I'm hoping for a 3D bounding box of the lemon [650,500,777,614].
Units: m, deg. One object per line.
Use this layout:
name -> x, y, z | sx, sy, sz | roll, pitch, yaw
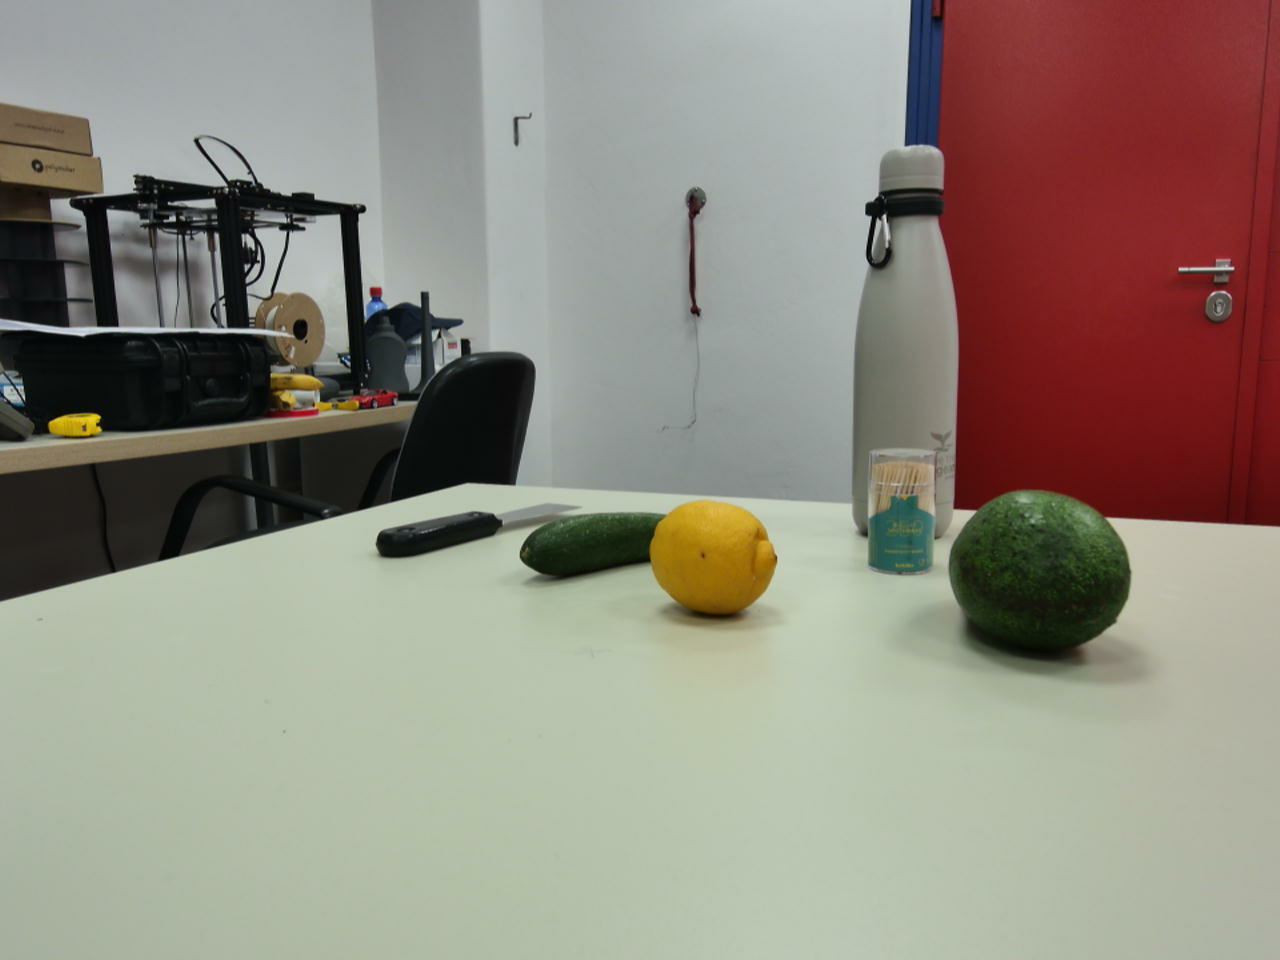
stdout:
lemon -> 0.038, 0.041, 0.533 | 0.061, 0.059, 0.067 | -2, 6, -24
